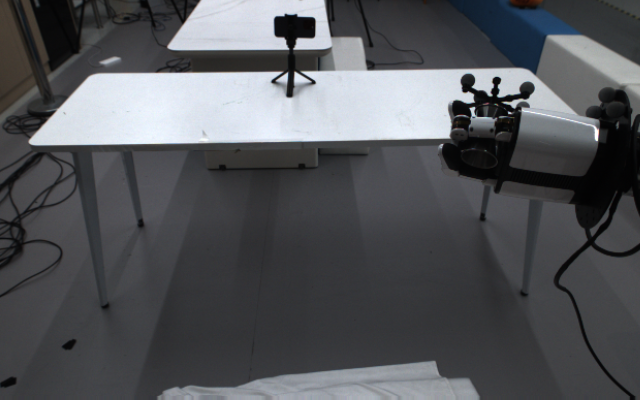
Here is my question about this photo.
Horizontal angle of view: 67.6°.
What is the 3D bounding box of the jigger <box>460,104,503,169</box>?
[{"bbox_3d":[0.204,-0.079,0.589,0.043,0.043,0.071,13,69,15],"label":"jigger"}]
